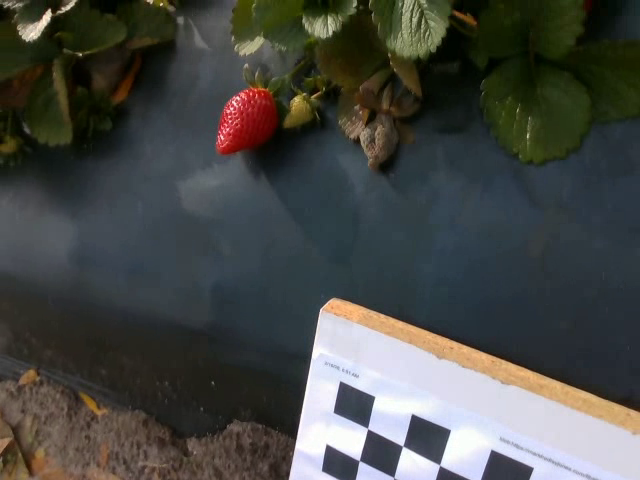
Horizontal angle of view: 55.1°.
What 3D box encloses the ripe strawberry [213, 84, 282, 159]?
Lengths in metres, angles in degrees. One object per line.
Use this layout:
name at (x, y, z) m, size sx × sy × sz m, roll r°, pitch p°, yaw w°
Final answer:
ripe strawberry at (-0.052, -0.075, 0.396) m, size 0.045 × 0.058 × 0.051 m, roll 22°, pitch -23°, yaw 21°
